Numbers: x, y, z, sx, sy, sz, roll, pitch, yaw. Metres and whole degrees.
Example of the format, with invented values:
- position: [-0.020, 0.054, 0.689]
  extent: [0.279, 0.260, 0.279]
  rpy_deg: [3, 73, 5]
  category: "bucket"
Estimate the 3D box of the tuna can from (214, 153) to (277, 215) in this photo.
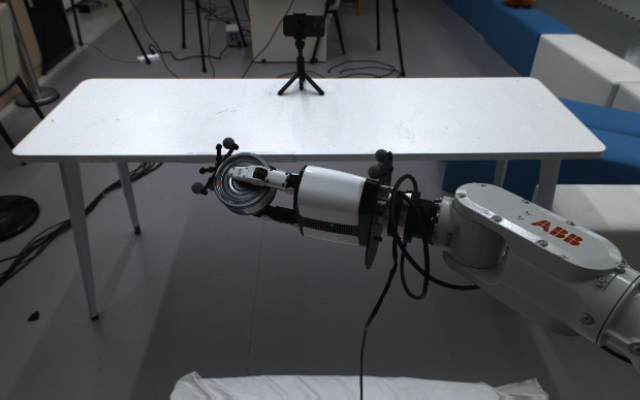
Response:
- position: [-0.103, -0.020, 0.685]
  extent: [0.085, 0.034, 0.085]
  rpy_deg: [-2, 72, 6]
  category: "tuna can"
